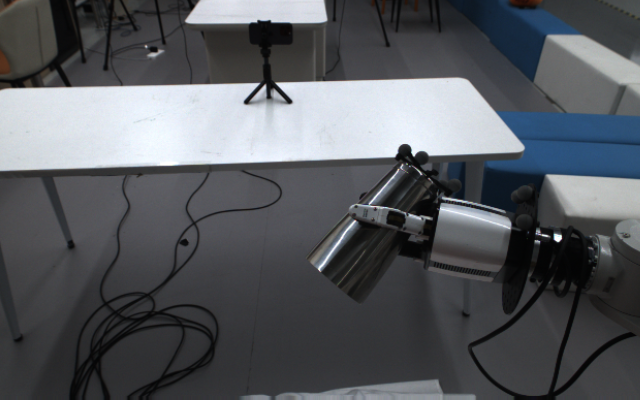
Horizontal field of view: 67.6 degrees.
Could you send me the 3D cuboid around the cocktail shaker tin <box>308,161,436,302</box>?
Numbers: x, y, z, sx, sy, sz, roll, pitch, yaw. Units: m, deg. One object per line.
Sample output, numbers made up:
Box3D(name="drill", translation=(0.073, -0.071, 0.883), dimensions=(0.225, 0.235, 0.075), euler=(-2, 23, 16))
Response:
Box3D(name="cocktail shaker tin", translation=(0.073, 0.033, 0.612), dimensions=(0.170, 0.093, 0.093), euler=(-48, 49, -3))
